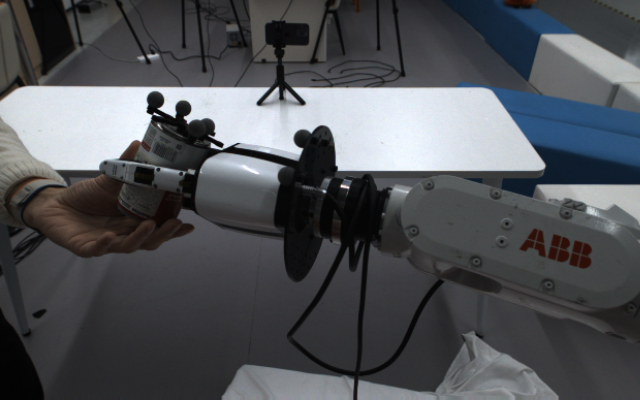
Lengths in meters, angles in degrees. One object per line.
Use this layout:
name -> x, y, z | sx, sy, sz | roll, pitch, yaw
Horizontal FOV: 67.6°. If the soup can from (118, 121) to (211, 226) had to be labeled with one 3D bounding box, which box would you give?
soup can -> -0.168, -0.029, 0.524 | 0.067, 0.101, 0.067 | 27, 11, -6
